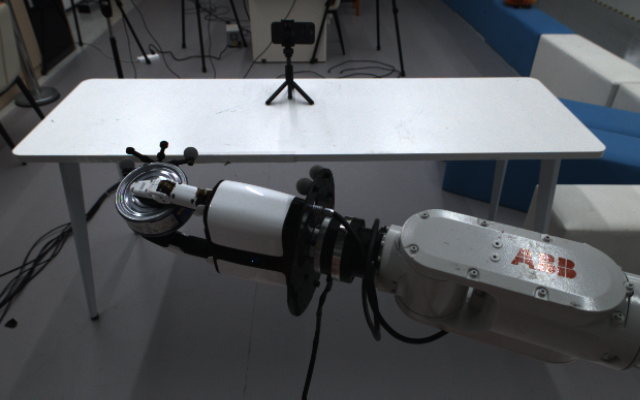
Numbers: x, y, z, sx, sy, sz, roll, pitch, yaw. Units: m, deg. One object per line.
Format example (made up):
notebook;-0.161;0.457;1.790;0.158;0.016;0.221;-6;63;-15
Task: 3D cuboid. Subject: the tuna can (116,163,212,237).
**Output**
tuna can;-0.186;0.005;0.561;0.085;0.034;0.085;-3;60;5
